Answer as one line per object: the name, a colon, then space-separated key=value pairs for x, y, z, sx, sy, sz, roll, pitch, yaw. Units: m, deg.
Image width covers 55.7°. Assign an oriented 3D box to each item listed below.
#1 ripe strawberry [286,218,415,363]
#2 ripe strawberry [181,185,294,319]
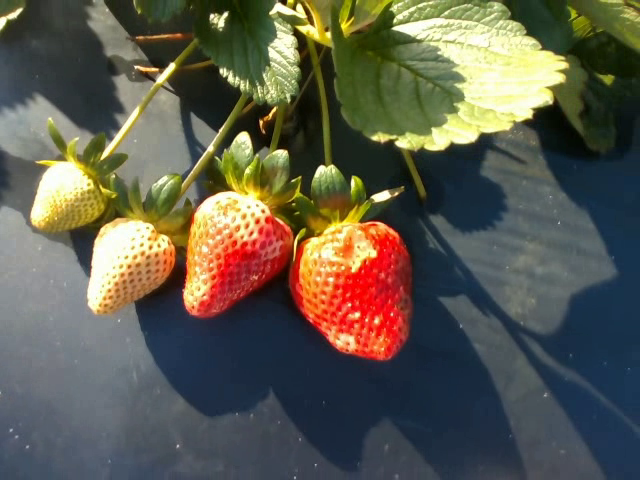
ripe strawberry: x=0.017 y=0.022 z=0.228 sx=0.057 sy=0.067 sz=0.052 roll=-29 pitch=-31 yaw=13
ripe strawberry: x=-0.035 y=0.006 z=0.226 sx=0.051 sy=0.061 sz=0.044 roll=39 pitch=-25 yaw=-20
